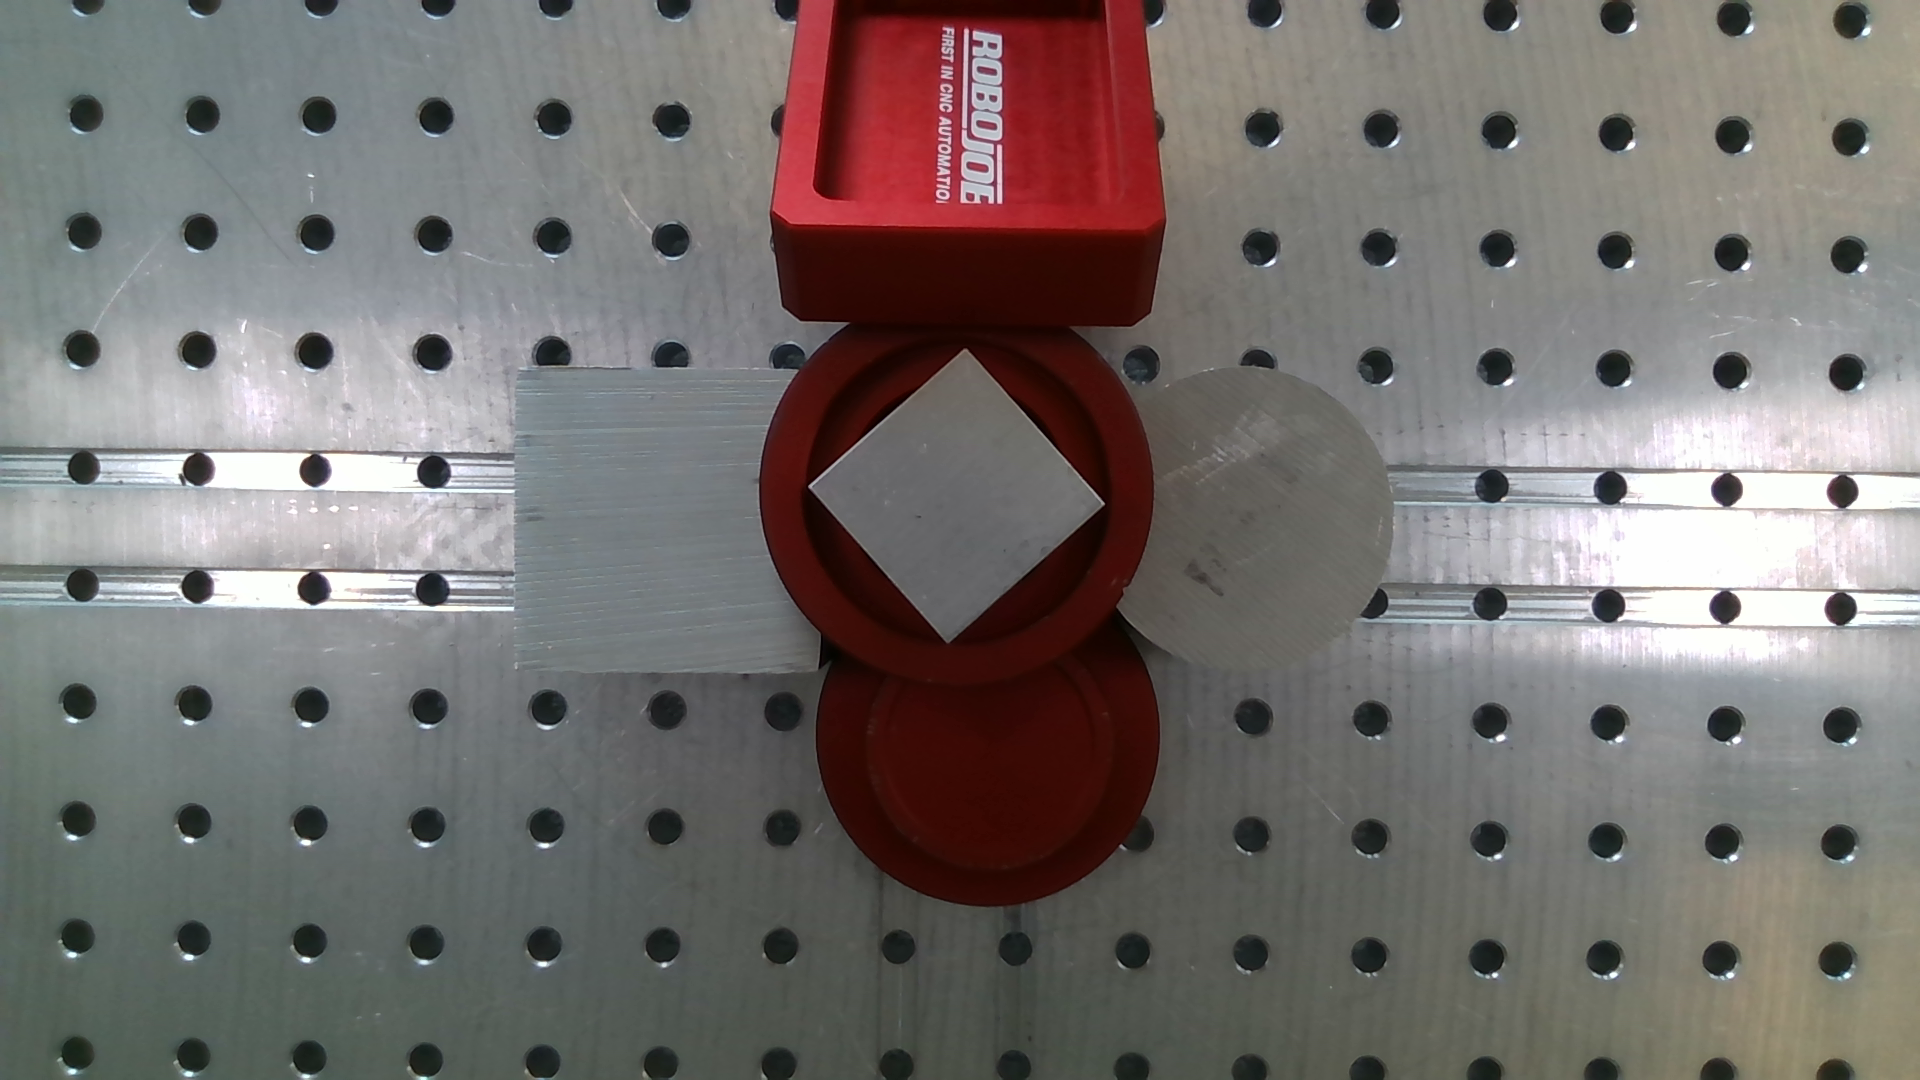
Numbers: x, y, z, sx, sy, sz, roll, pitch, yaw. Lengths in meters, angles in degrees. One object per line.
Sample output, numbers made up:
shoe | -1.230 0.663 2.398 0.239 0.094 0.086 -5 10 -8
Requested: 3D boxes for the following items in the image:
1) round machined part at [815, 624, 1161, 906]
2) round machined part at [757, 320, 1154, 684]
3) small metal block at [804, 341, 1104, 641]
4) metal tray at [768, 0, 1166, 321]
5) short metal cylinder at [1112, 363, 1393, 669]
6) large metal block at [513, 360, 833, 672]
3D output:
round machined part | 0.008 0.055 0.388 0.098 0.042 0.098 0 90 0
round machined part | -0.001 -0.013 0.360 0.098 0.042 0.098 0 90 0
small metal block | -0.001 -0.011 0.336 0.050 0.025 0.050 -42 90 0
metal tray | 0.002 -0.114 0.359 0.090 0.030 0.130 1 53 0
short metal cylinder | 0.073 -0.006 0.385 0.080 0.050 0.080 0 90 0
large metal block | -0.076 -0.006 0.382 0.080 0.050 0.080 1 90 0
